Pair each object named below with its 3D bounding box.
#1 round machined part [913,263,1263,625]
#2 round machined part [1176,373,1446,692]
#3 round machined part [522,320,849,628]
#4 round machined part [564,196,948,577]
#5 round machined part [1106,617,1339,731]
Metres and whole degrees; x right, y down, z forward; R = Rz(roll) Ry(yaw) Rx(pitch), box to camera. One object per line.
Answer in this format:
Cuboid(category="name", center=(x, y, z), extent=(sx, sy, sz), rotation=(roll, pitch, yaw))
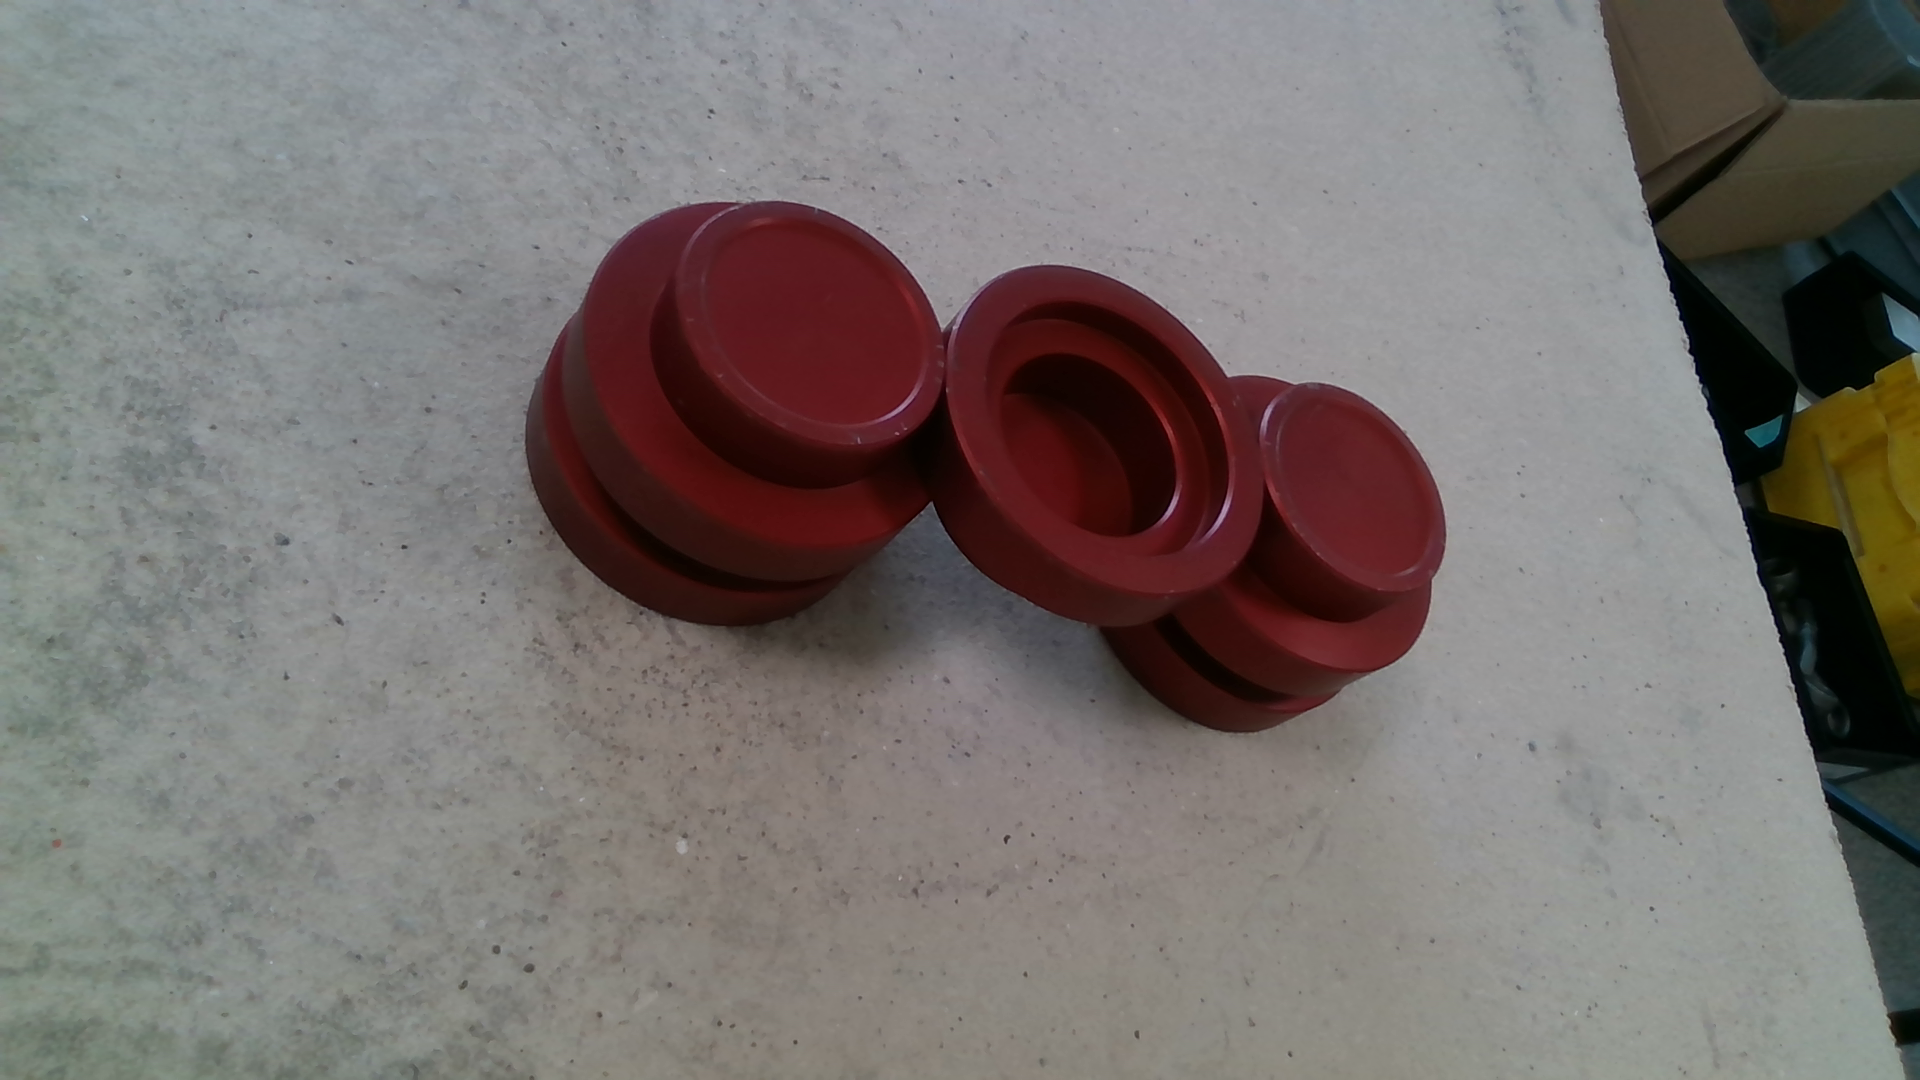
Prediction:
Cuboid(category="round machined part", center=(0.030, -0.022, 0.372), extent=(0.098, 0.042, 0.098), rotation=(14, 59, -25))
Cuboid(category="round machined part", center=(0.104, -0.008, 0.408), extent=(0.098, 0.042, 0.098), rotation=(15, 58, -24))
Cuboid(category="round machined part", center=(-0.061, -0.030, 0.363), extent=(0.098, 0.042, 0.098), rotation=(16, 57, -26))
Cuboid(category="round machined part", center=(-0.042, -0.044, 0.336), extent=(0.098, 0.042, 0.098), rotation=(15, 58, -24))
Cuboid(category="round machined part", center=(0.090, 0.007, 0.434), extent=(0.098, 0.042, 0.098), rotation=(15, 57, -24))
